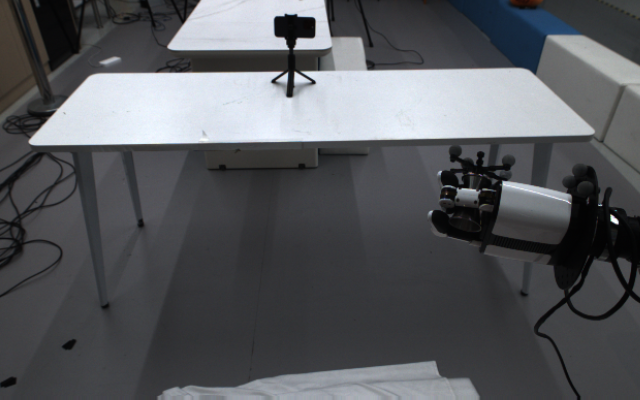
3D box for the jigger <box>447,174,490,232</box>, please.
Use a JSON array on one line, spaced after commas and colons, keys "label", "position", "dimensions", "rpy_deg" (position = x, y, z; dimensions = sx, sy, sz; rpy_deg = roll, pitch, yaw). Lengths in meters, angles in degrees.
[{"label": "jigger", "position": [0.205, 0.002, 0.648], "dimensions": [0.043, 0.043, 0.071], "rpy_deg": [13, 69, 15]}]
